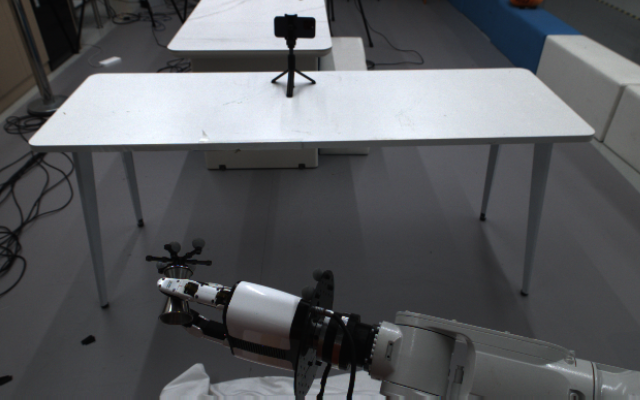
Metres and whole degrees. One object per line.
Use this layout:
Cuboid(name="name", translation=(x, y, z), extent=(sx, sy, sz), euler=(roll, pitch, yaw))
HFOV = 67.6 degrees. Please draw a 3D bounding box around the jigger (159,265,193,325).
Cuboid(name="jigger", translation=(-0.190, 0.127, 0.648), extent=(0.043, 0.043, 0.071), euler=(-3, 57, -8))
